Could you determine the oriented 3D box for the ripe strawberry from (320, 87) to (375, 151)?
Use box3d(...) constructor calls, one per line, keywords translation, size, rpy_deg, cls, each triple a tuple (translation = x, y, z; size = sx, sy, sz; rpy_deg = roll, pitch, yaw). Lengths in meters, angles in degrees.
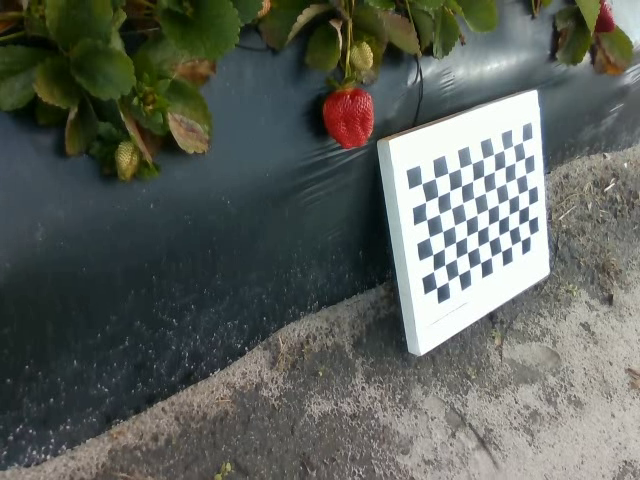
box3d(translation=(0.035, -0.139, 0.672), size=(0.067, 0.074, 0.039), rpy_deg=(-18, 16, -31), cls="ripe strawberry")
